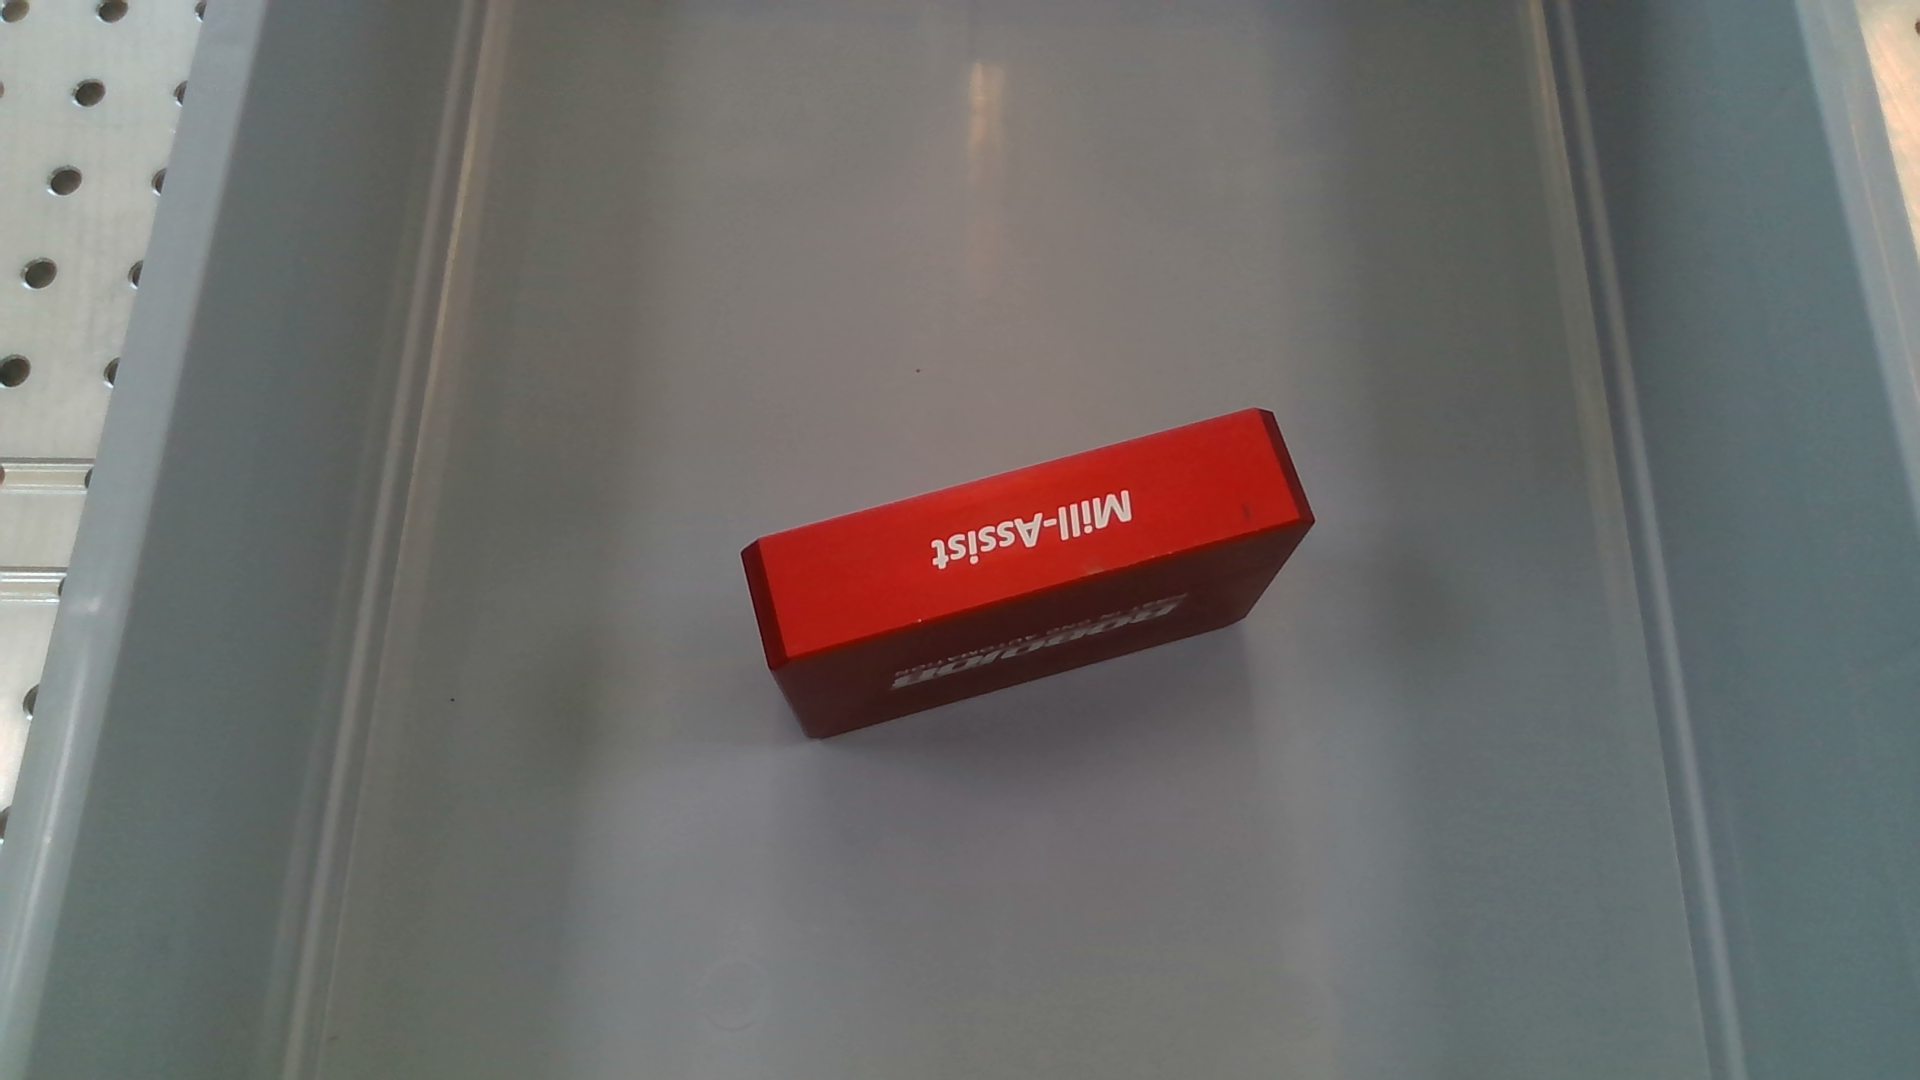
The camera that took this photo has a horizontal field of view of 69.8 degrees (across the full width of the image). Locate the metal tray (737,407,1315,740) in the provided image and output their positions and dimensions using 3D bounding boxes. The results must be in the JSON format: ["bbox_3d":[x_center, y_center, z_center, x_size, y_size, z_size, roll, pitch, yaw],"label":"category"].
[{"bbox_3d":[0.015,0.012,0.354,0.130,0.090,0.030,-15,72,-5],"label":"metal tray"}]
